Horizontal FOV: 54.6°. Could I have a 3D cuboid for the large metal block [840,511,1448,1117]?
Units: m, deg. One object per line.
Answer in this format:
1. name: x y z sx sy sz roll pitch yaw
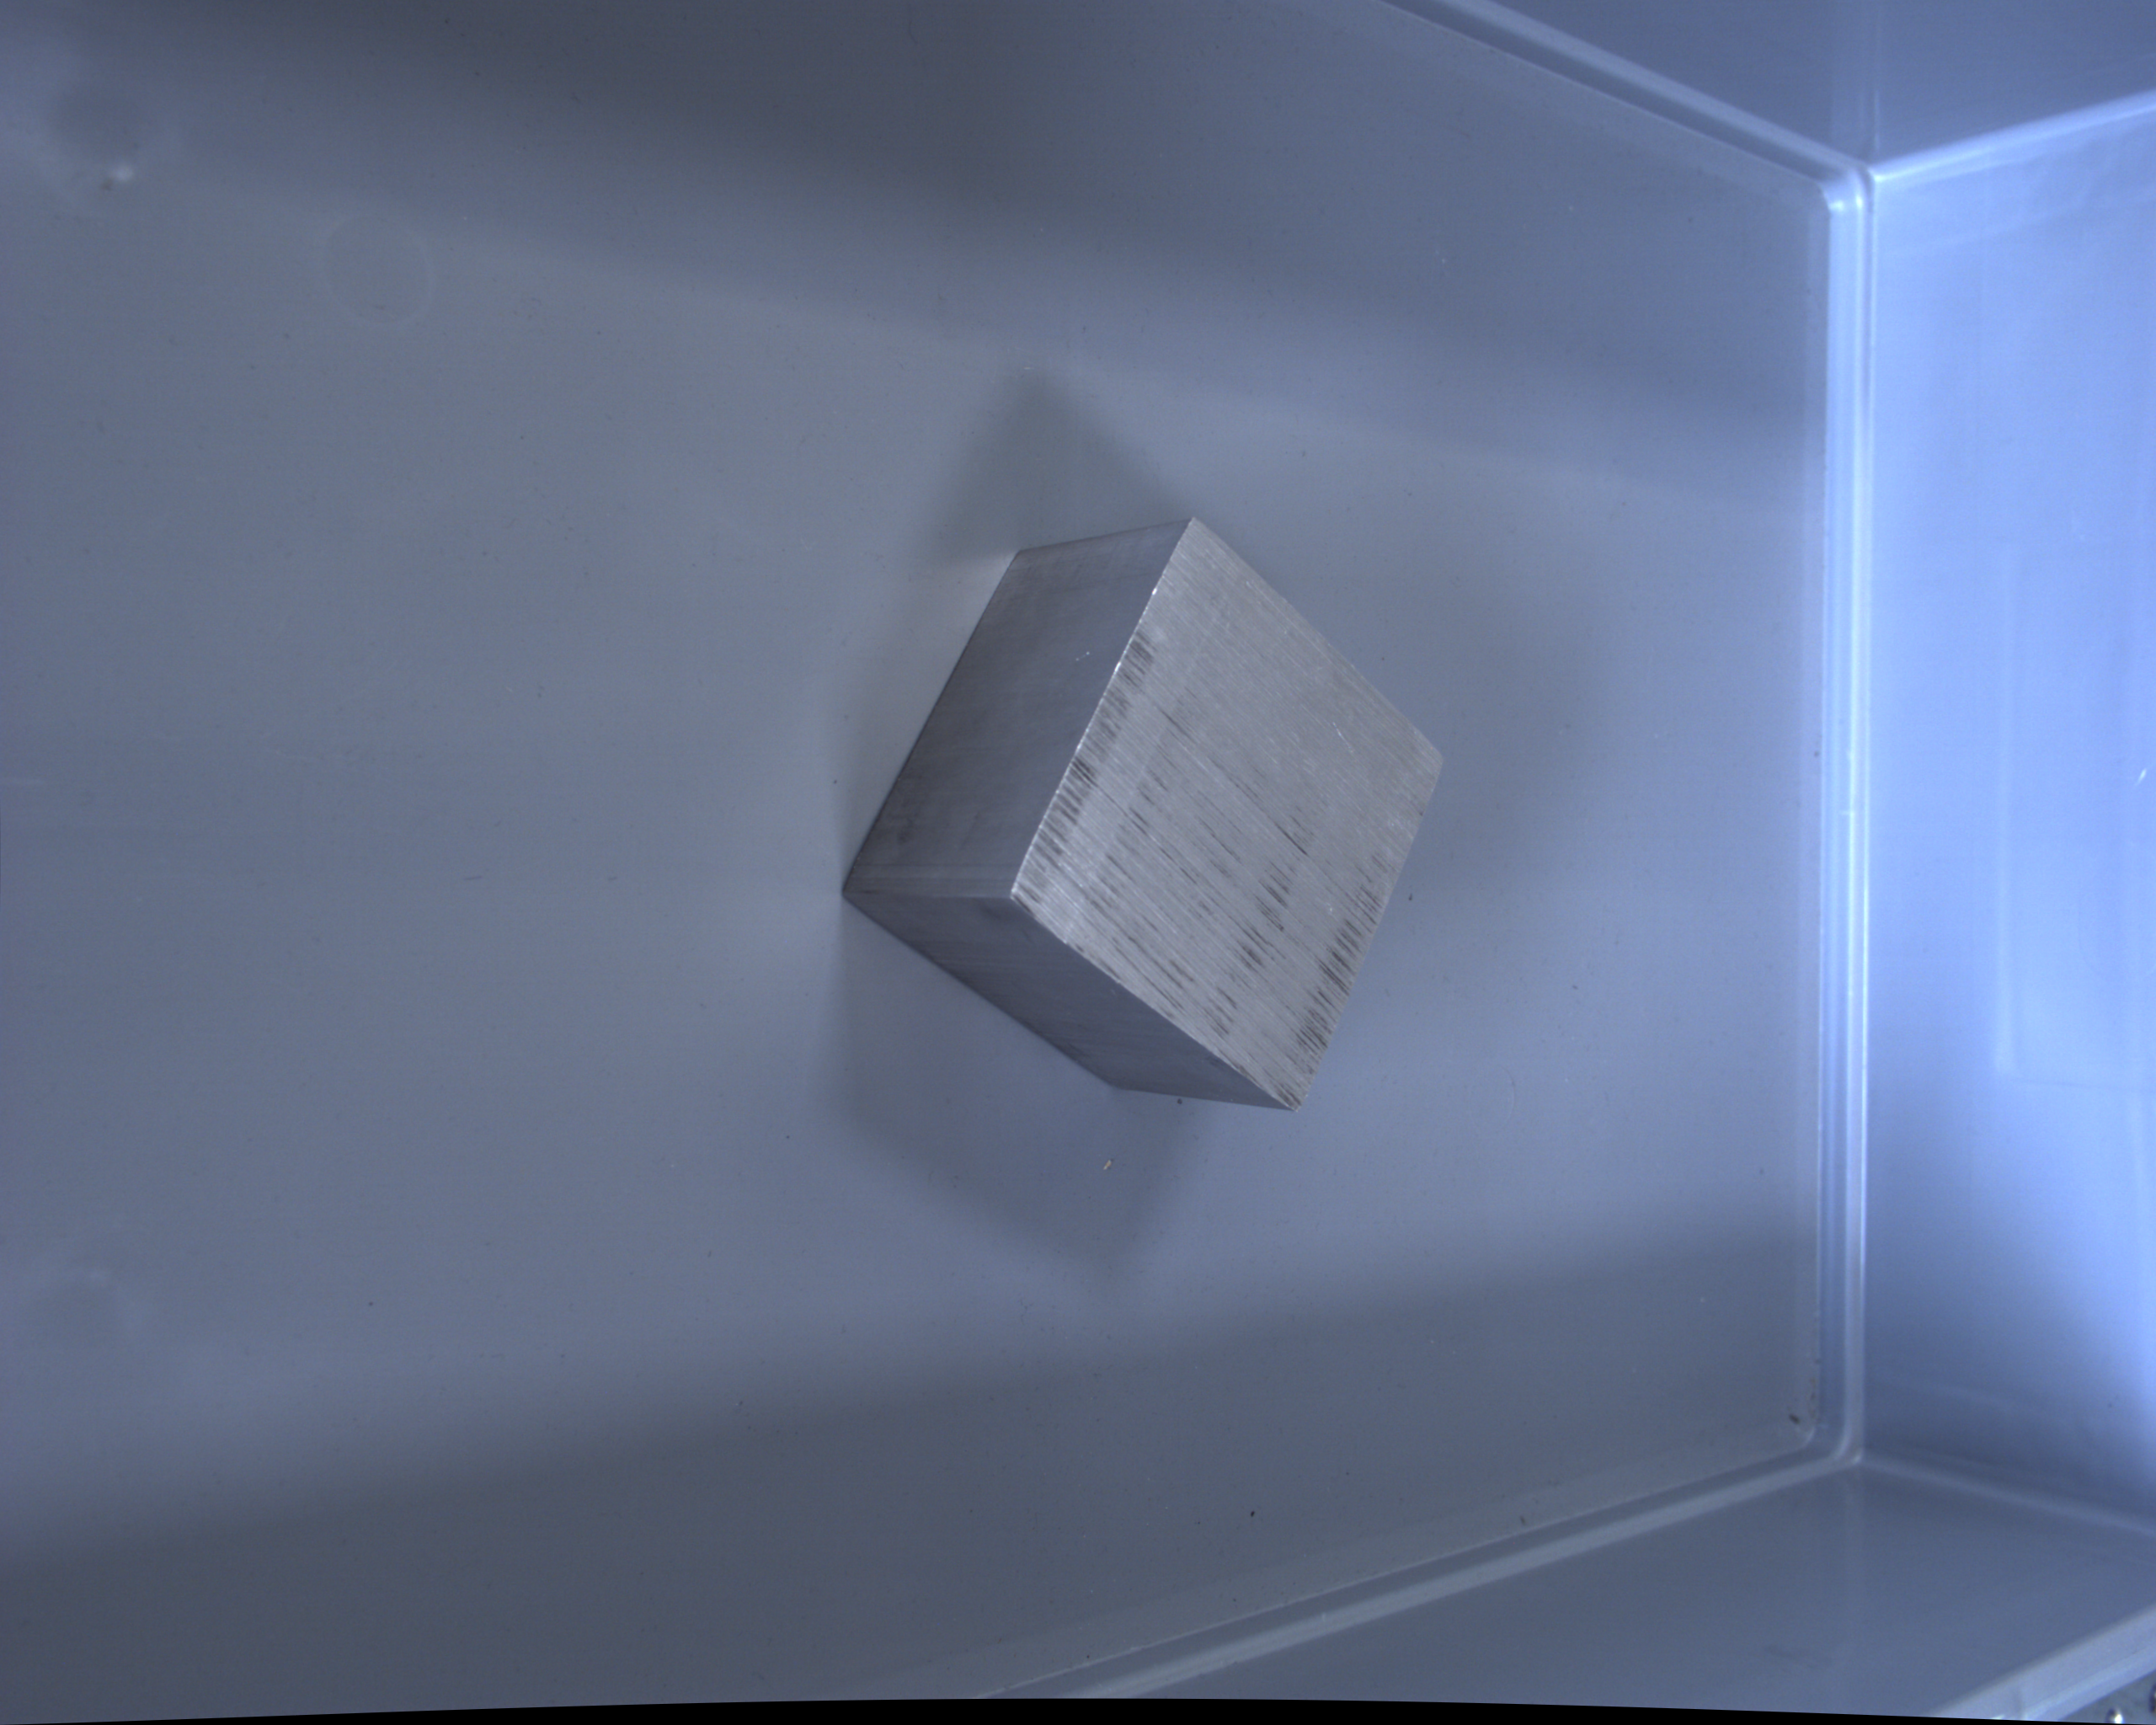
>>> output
1. large metal block: 0.015 -0.008 0.397 0.080 0.050 0.080 39 66 -34
